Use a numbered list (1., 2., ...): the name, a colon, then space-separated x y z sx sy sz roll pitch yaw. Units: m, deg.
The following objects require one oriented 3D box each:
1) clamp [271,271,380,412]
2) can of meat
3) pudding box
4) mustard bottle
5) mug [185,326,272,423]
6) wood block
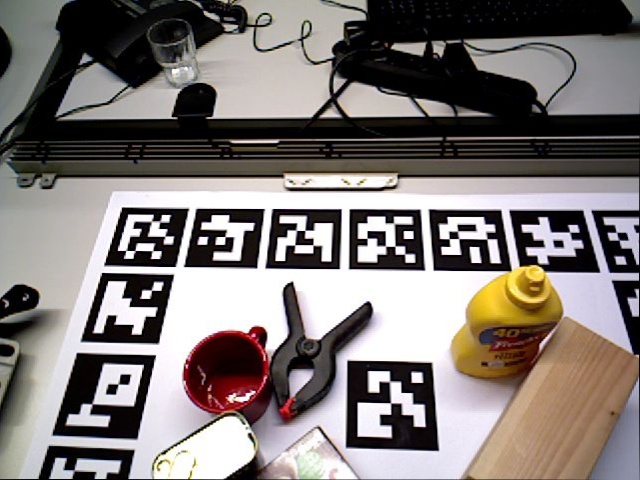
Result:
1. clamp: -0.010 0.122 0.641 0.122 0.037 0.162 18 62 13
2. can of meat: -0.110 0.224 0.542 0.100 0.085 0.057 -25 60 -13
3. pudding box: -0.013 0.259 0.547 0.112 0.039 0.090 -33 61 -18
4. mustard bottle: 0.201 0.077 0.556 0.096 0.195 0.057 -3 57 1
5. mug: -0.093 0.151 0.623 0.093 0.083 0.115 20 62 16
6. wood block: 0.239 0.195 0.544 0.090 0.093 0.202 33 63 24
